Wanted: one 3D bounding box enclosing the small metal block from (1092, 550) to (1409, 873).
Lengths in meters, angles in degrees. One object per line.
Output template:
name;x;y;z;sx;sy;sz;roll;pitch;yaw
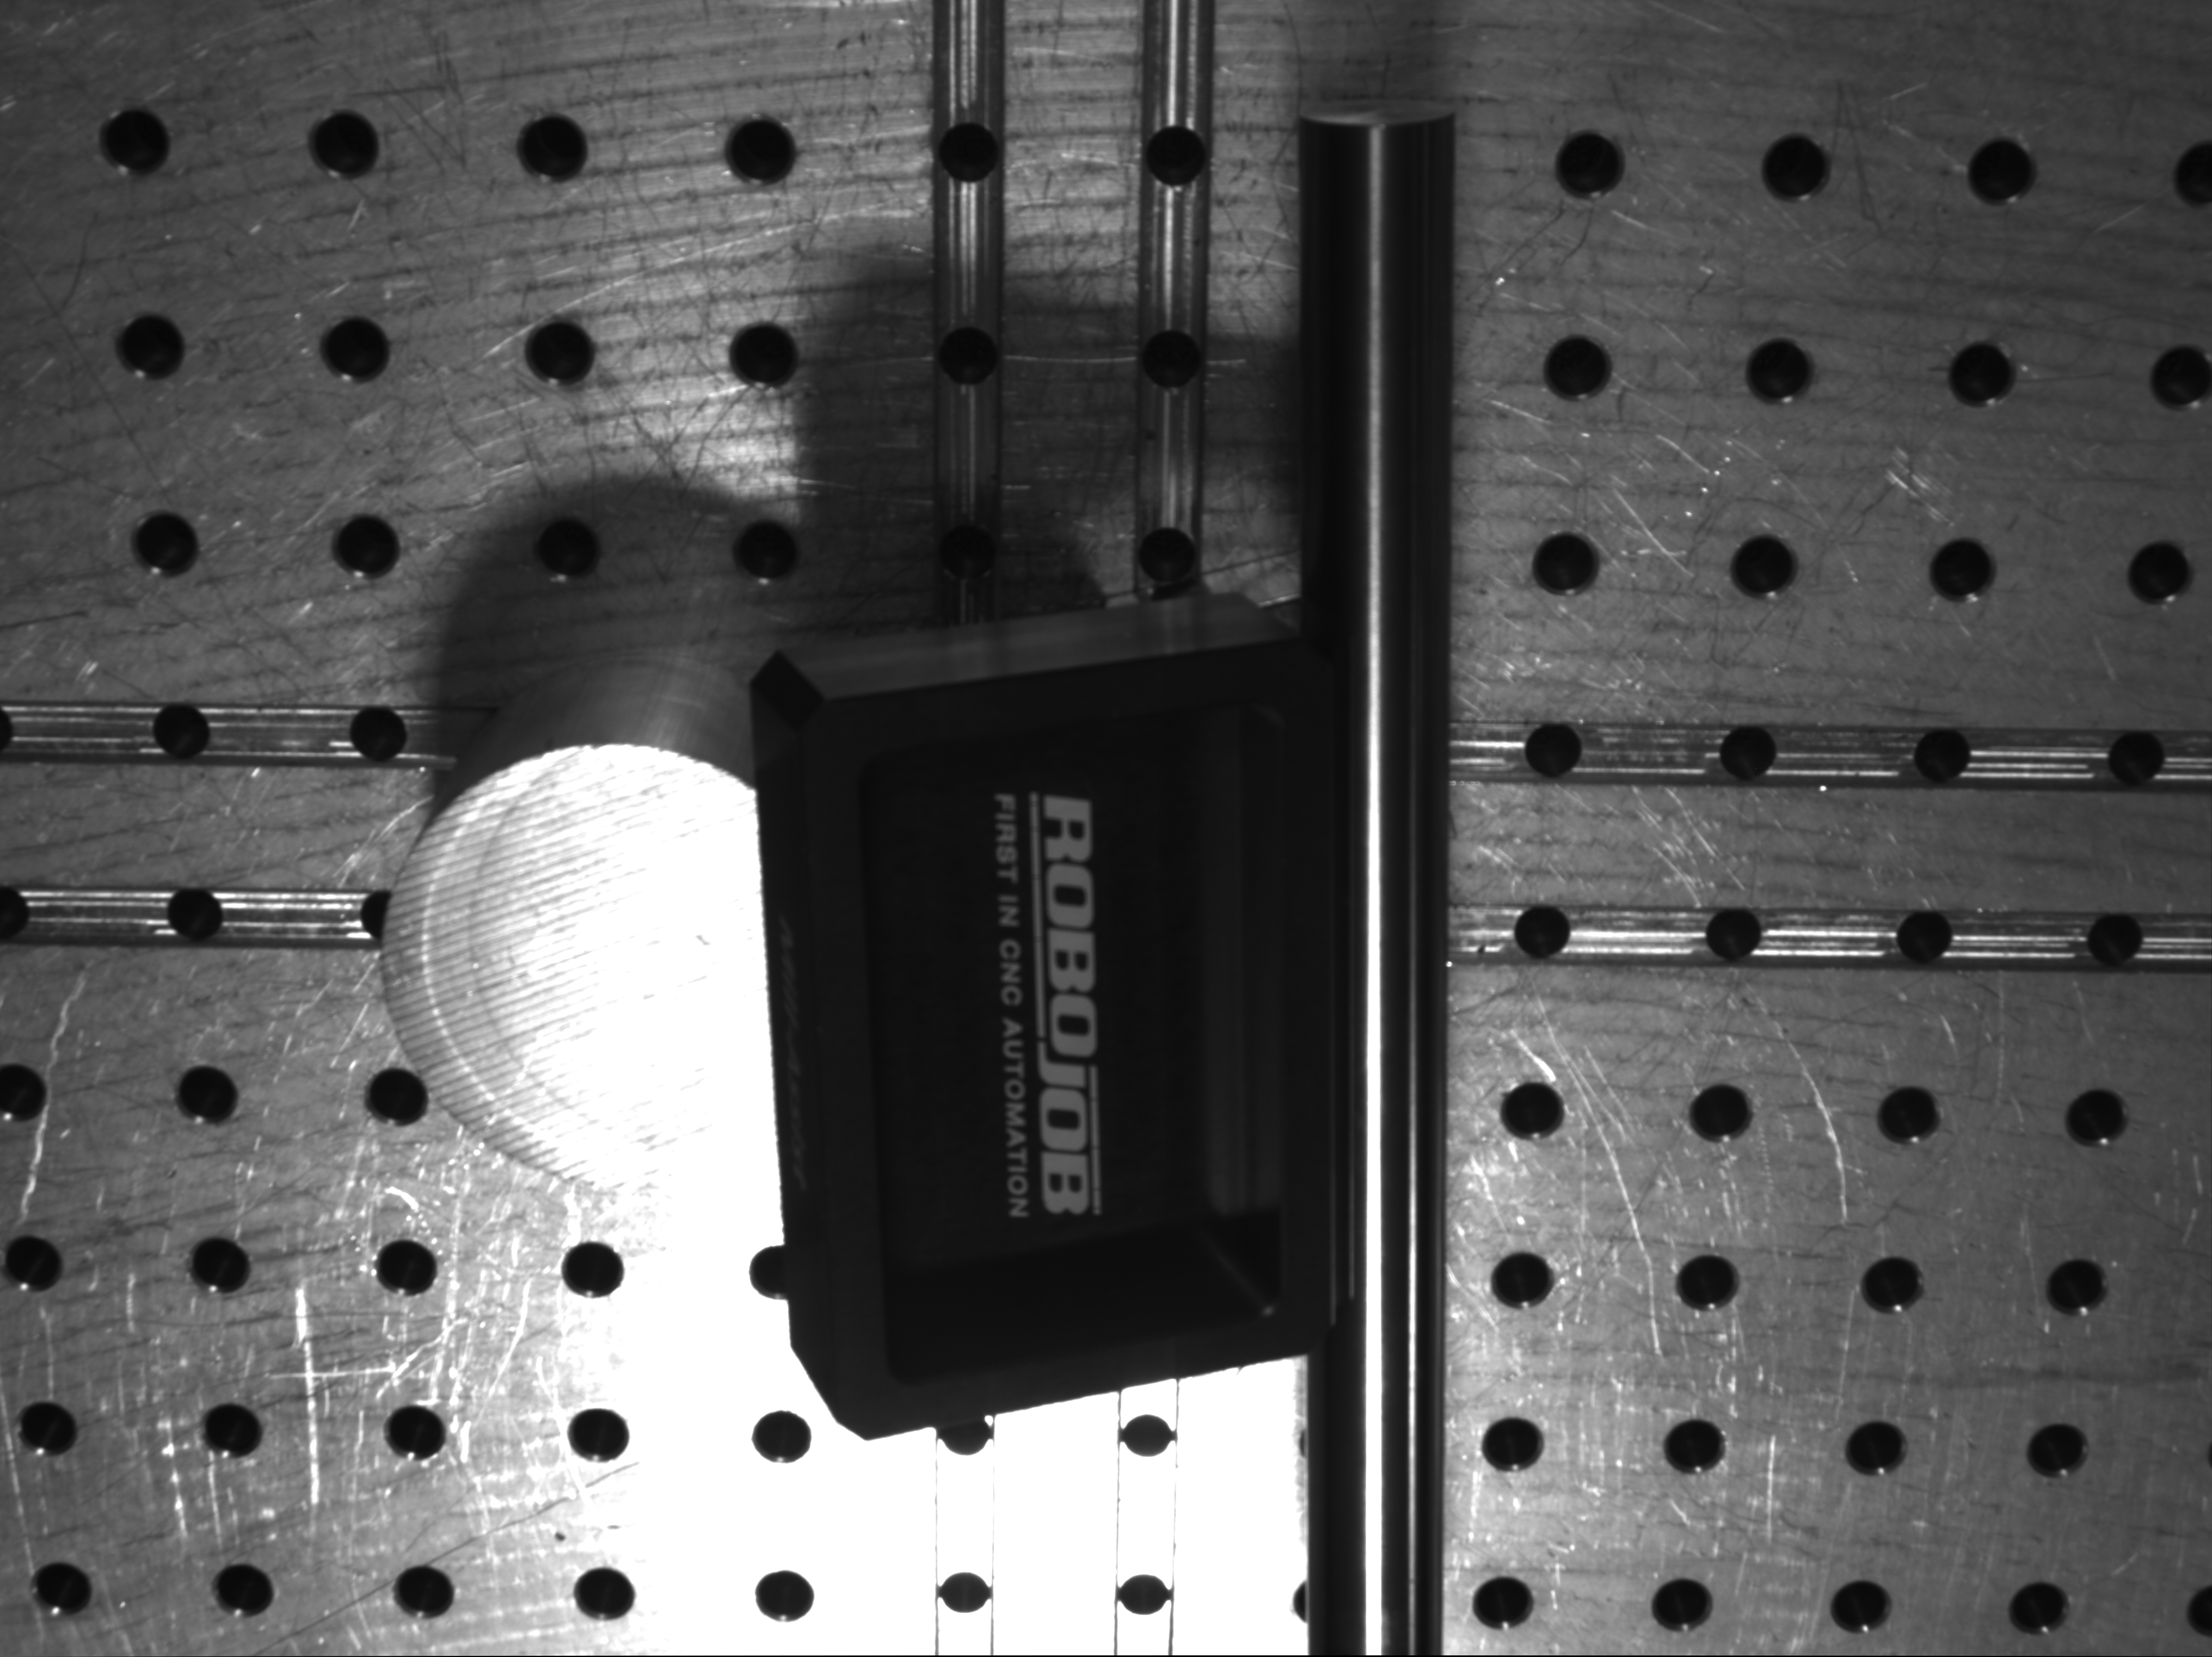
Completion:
small metal block;0.028;-0.019;0.639;0.050;0.025;0.050;-14;109;4

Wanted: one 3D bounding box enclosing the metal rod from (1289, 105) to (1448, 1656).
metal rod;0.045;0.028;0.629;0.025;0.025;0.300;-1;110;0

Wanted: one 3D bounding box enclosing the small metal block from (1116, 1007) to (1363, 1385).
small metal block;0.018;0.064;0.668;0.050;0.025;0.050;37;105;-13

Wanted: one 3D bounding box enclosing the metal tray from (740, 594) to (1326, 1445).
metal tray;-0.010;0.032;0.612;0.090;0.030;0.130;-8;111;-18

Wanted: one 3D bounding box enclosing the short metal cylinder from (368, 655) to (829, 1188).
short metal cylinder;-0.083;0.015;0.636;0.080;0.050;0.080;0;110;-1
